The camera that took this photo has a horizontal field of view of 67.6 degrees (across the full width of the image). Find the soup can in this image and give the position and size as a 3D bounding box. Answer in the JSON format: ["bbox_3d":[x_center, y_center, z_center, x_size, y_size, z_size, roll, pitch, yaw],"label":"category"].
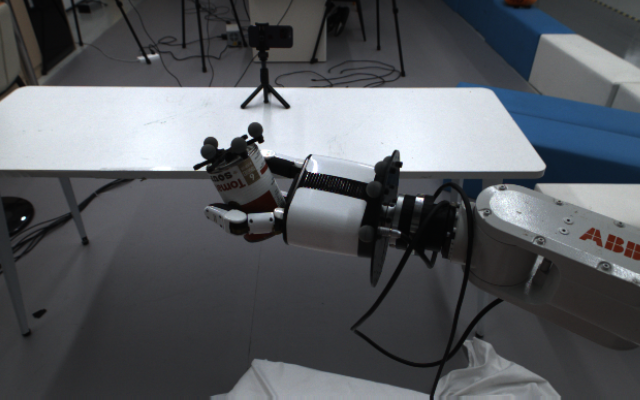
[{"bbox_3d":[-0.082,-0.008,0.584,0.067,0.101,0.067,-22,24,10],"label":"soup can"}]
